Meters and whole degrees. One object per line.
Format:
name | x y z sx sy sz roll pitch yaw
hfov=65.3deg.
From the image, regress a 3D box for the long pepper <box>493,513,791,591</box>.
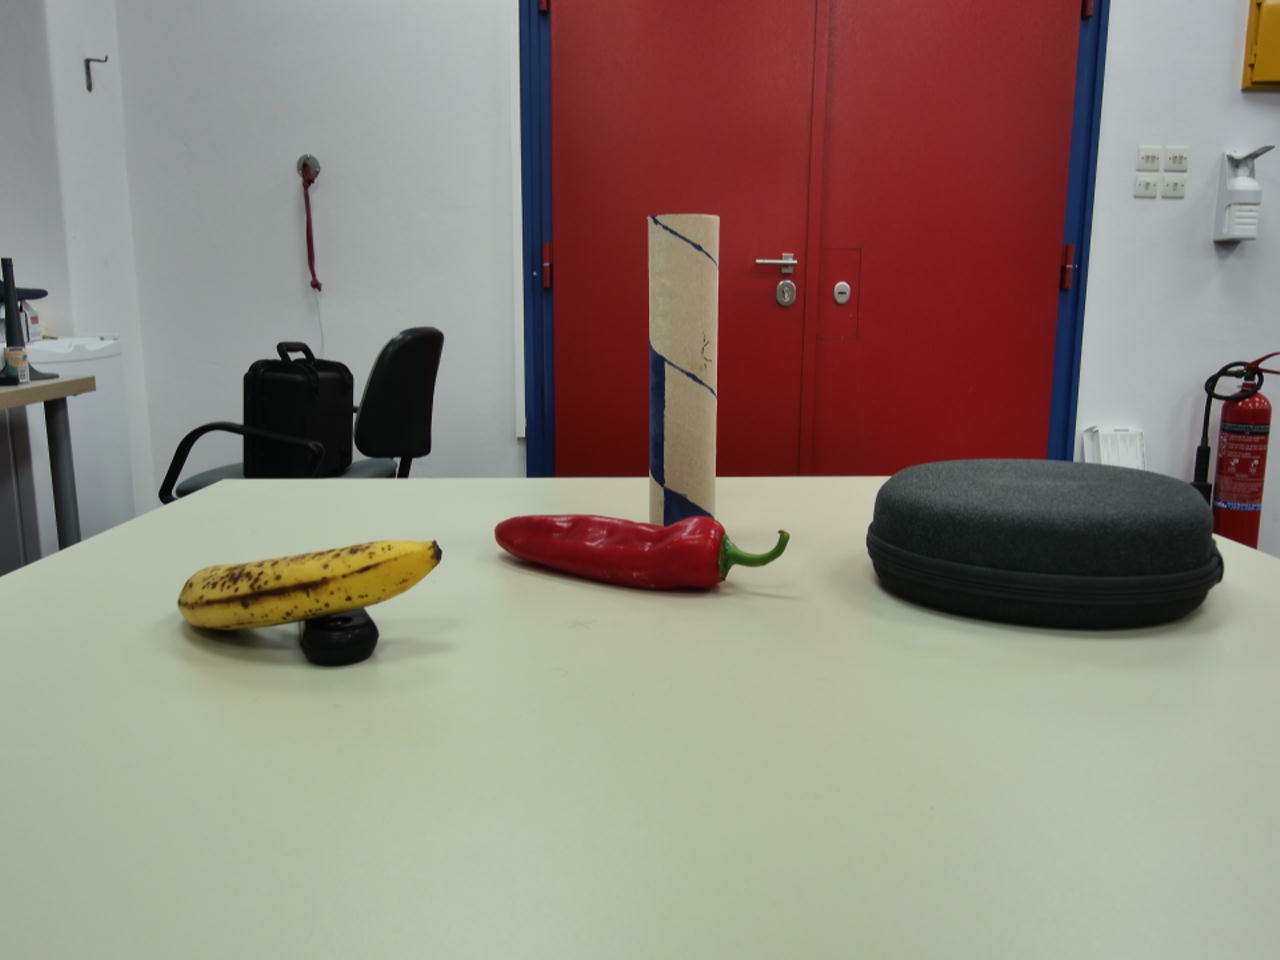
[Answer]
long pepper | -0.010 0.040 0.613 0.211 0.043 0.050 4 9 31
